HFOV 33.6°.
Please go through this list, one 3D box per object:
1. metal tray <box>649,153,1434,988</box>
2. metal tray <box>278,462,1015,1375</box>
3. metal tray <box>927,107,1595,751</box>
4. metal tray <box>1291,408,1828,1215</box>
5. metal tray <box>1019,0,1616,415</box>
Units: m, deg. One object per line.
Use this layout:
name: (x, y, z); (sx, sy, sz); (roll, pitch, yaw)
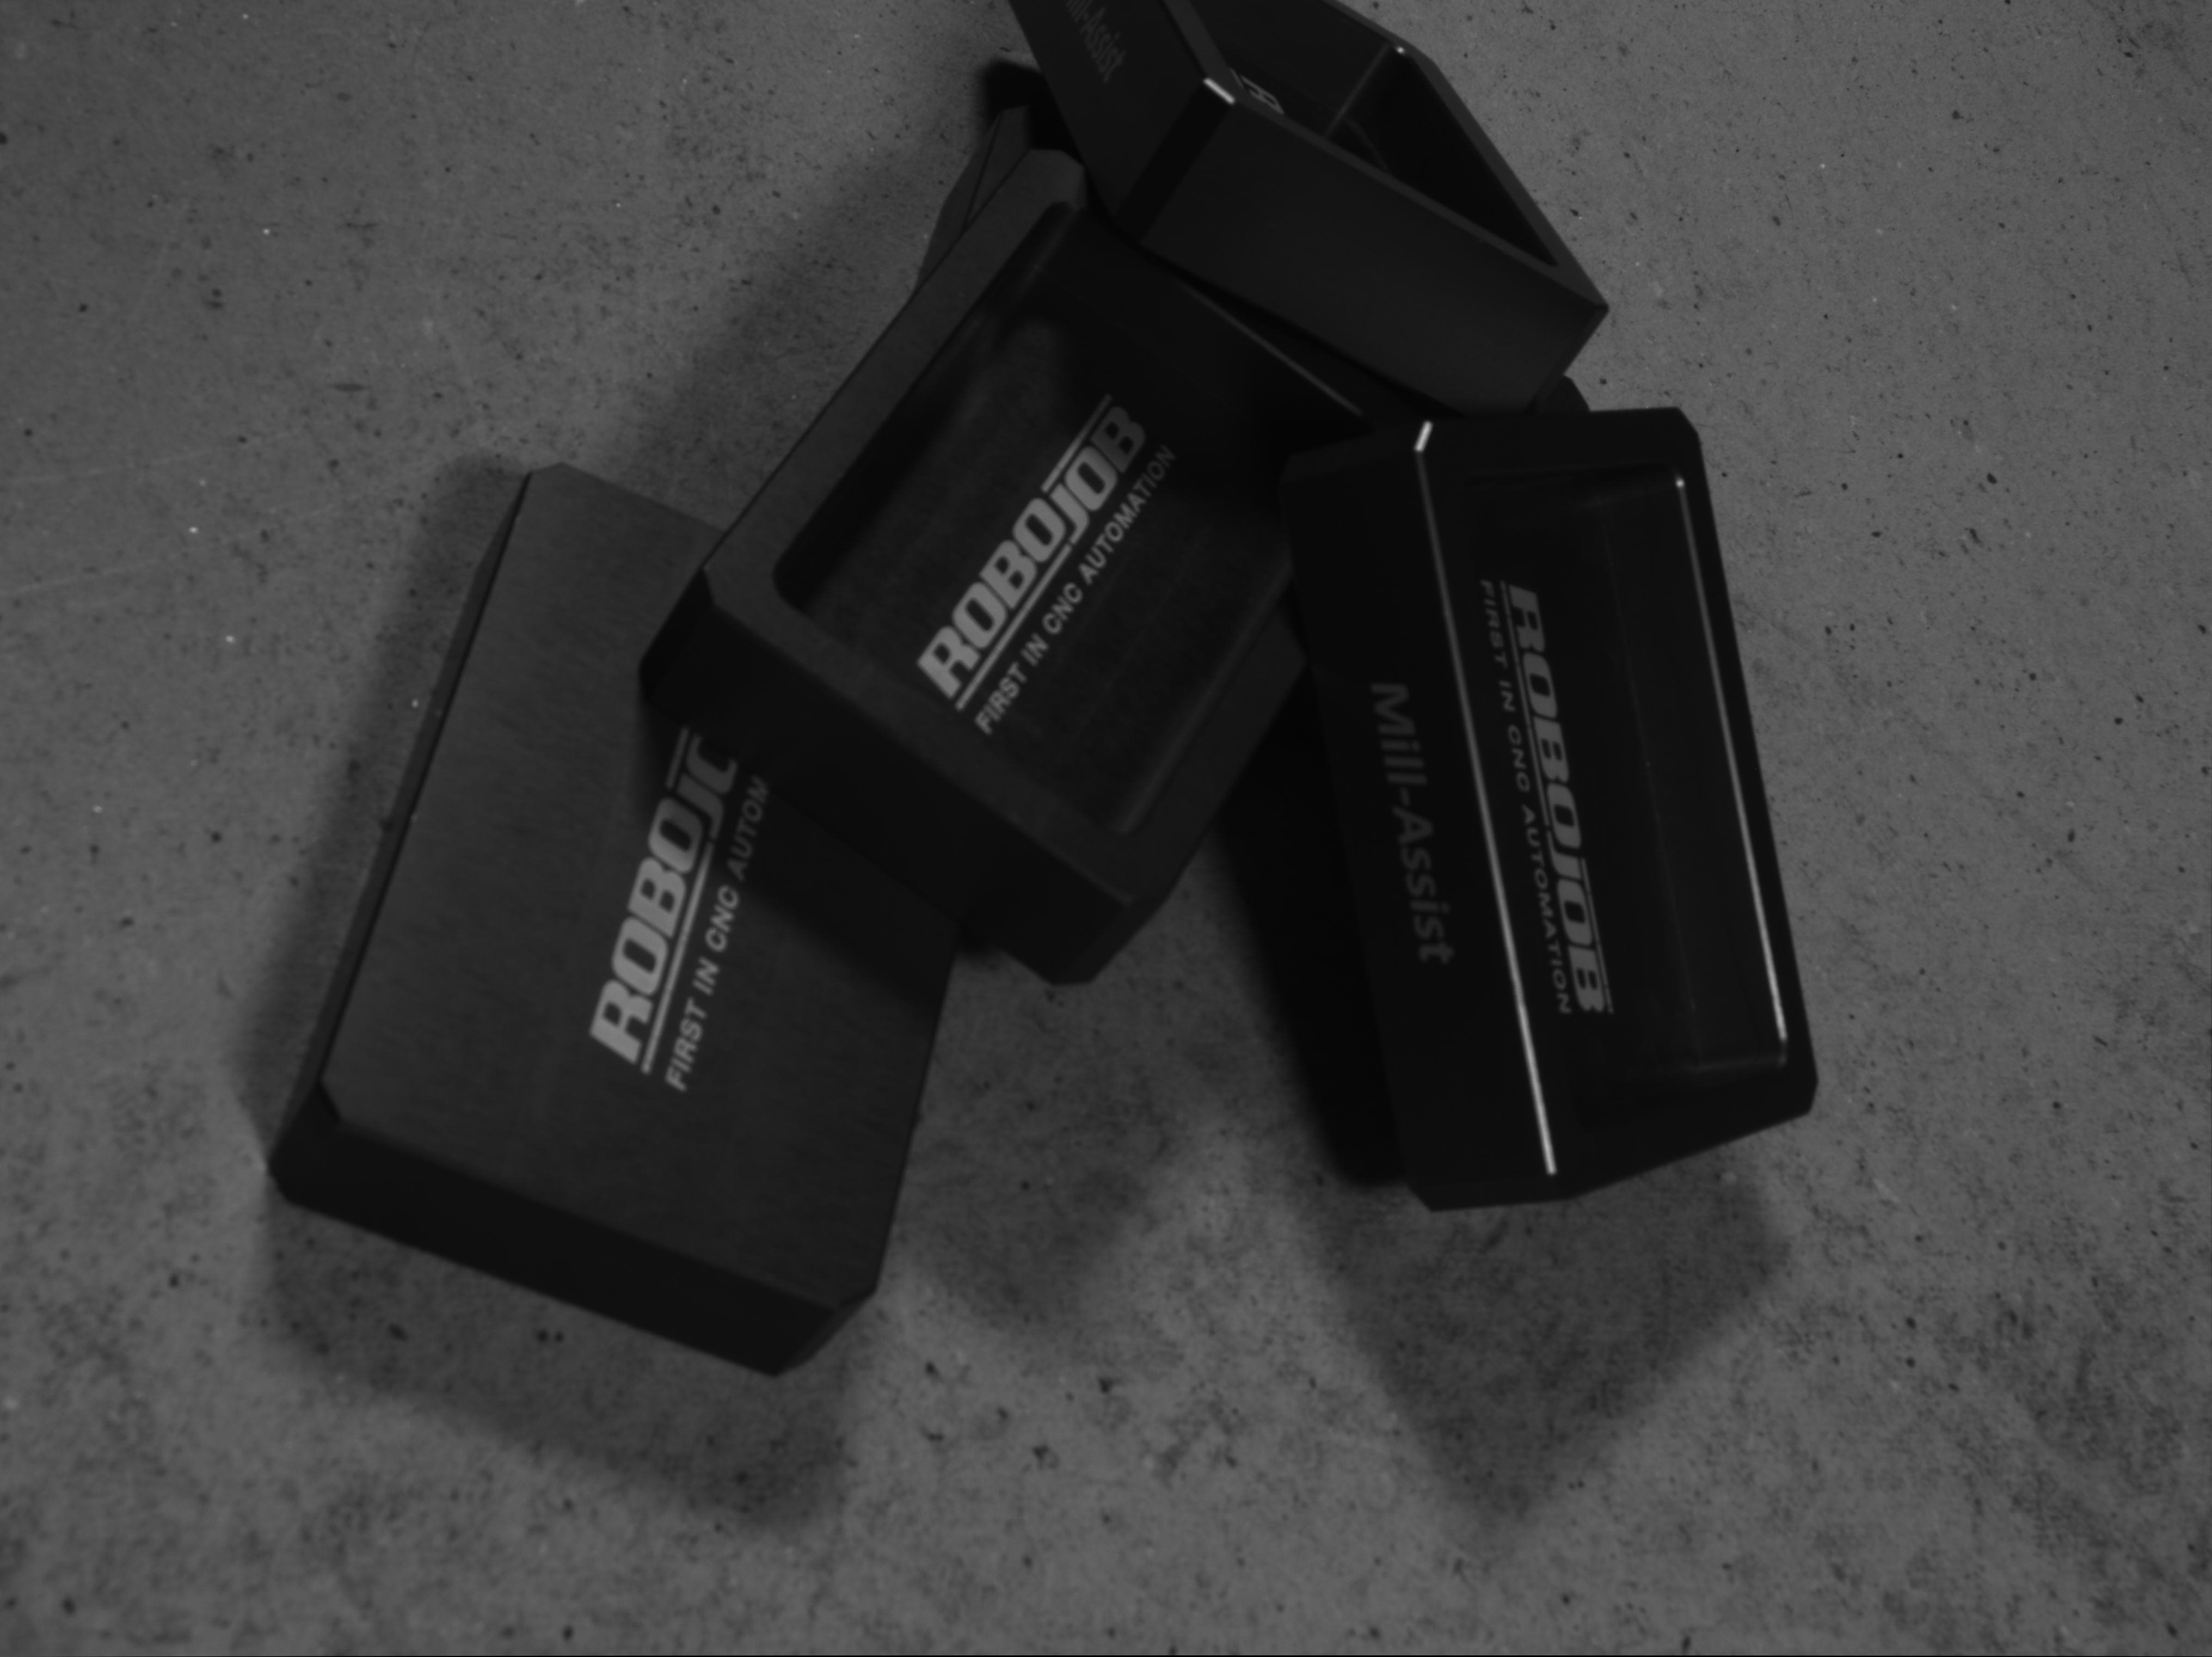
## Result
metal tray: (-0.007, -0.047, 0.623); (0.090, 0.030, 0.130); (36, 51, -4)
metal tray: (-0.070, 0.012, 0.591); (0.090, 0.030, 0.130); (22, 53, -15)
metal tray: (0.025, -0.071, 0.694); (0.130, 0.030, 0.090); (24, 53, -13)
metal tray: (0.081, -0.005, 0.640); (0.090, 0.030, 0.130); (-11, 90, -50)
metal tray: (0.036, -0.130, 0.692); (0.090, 0.030, 0.130); (25, 25, -25)
